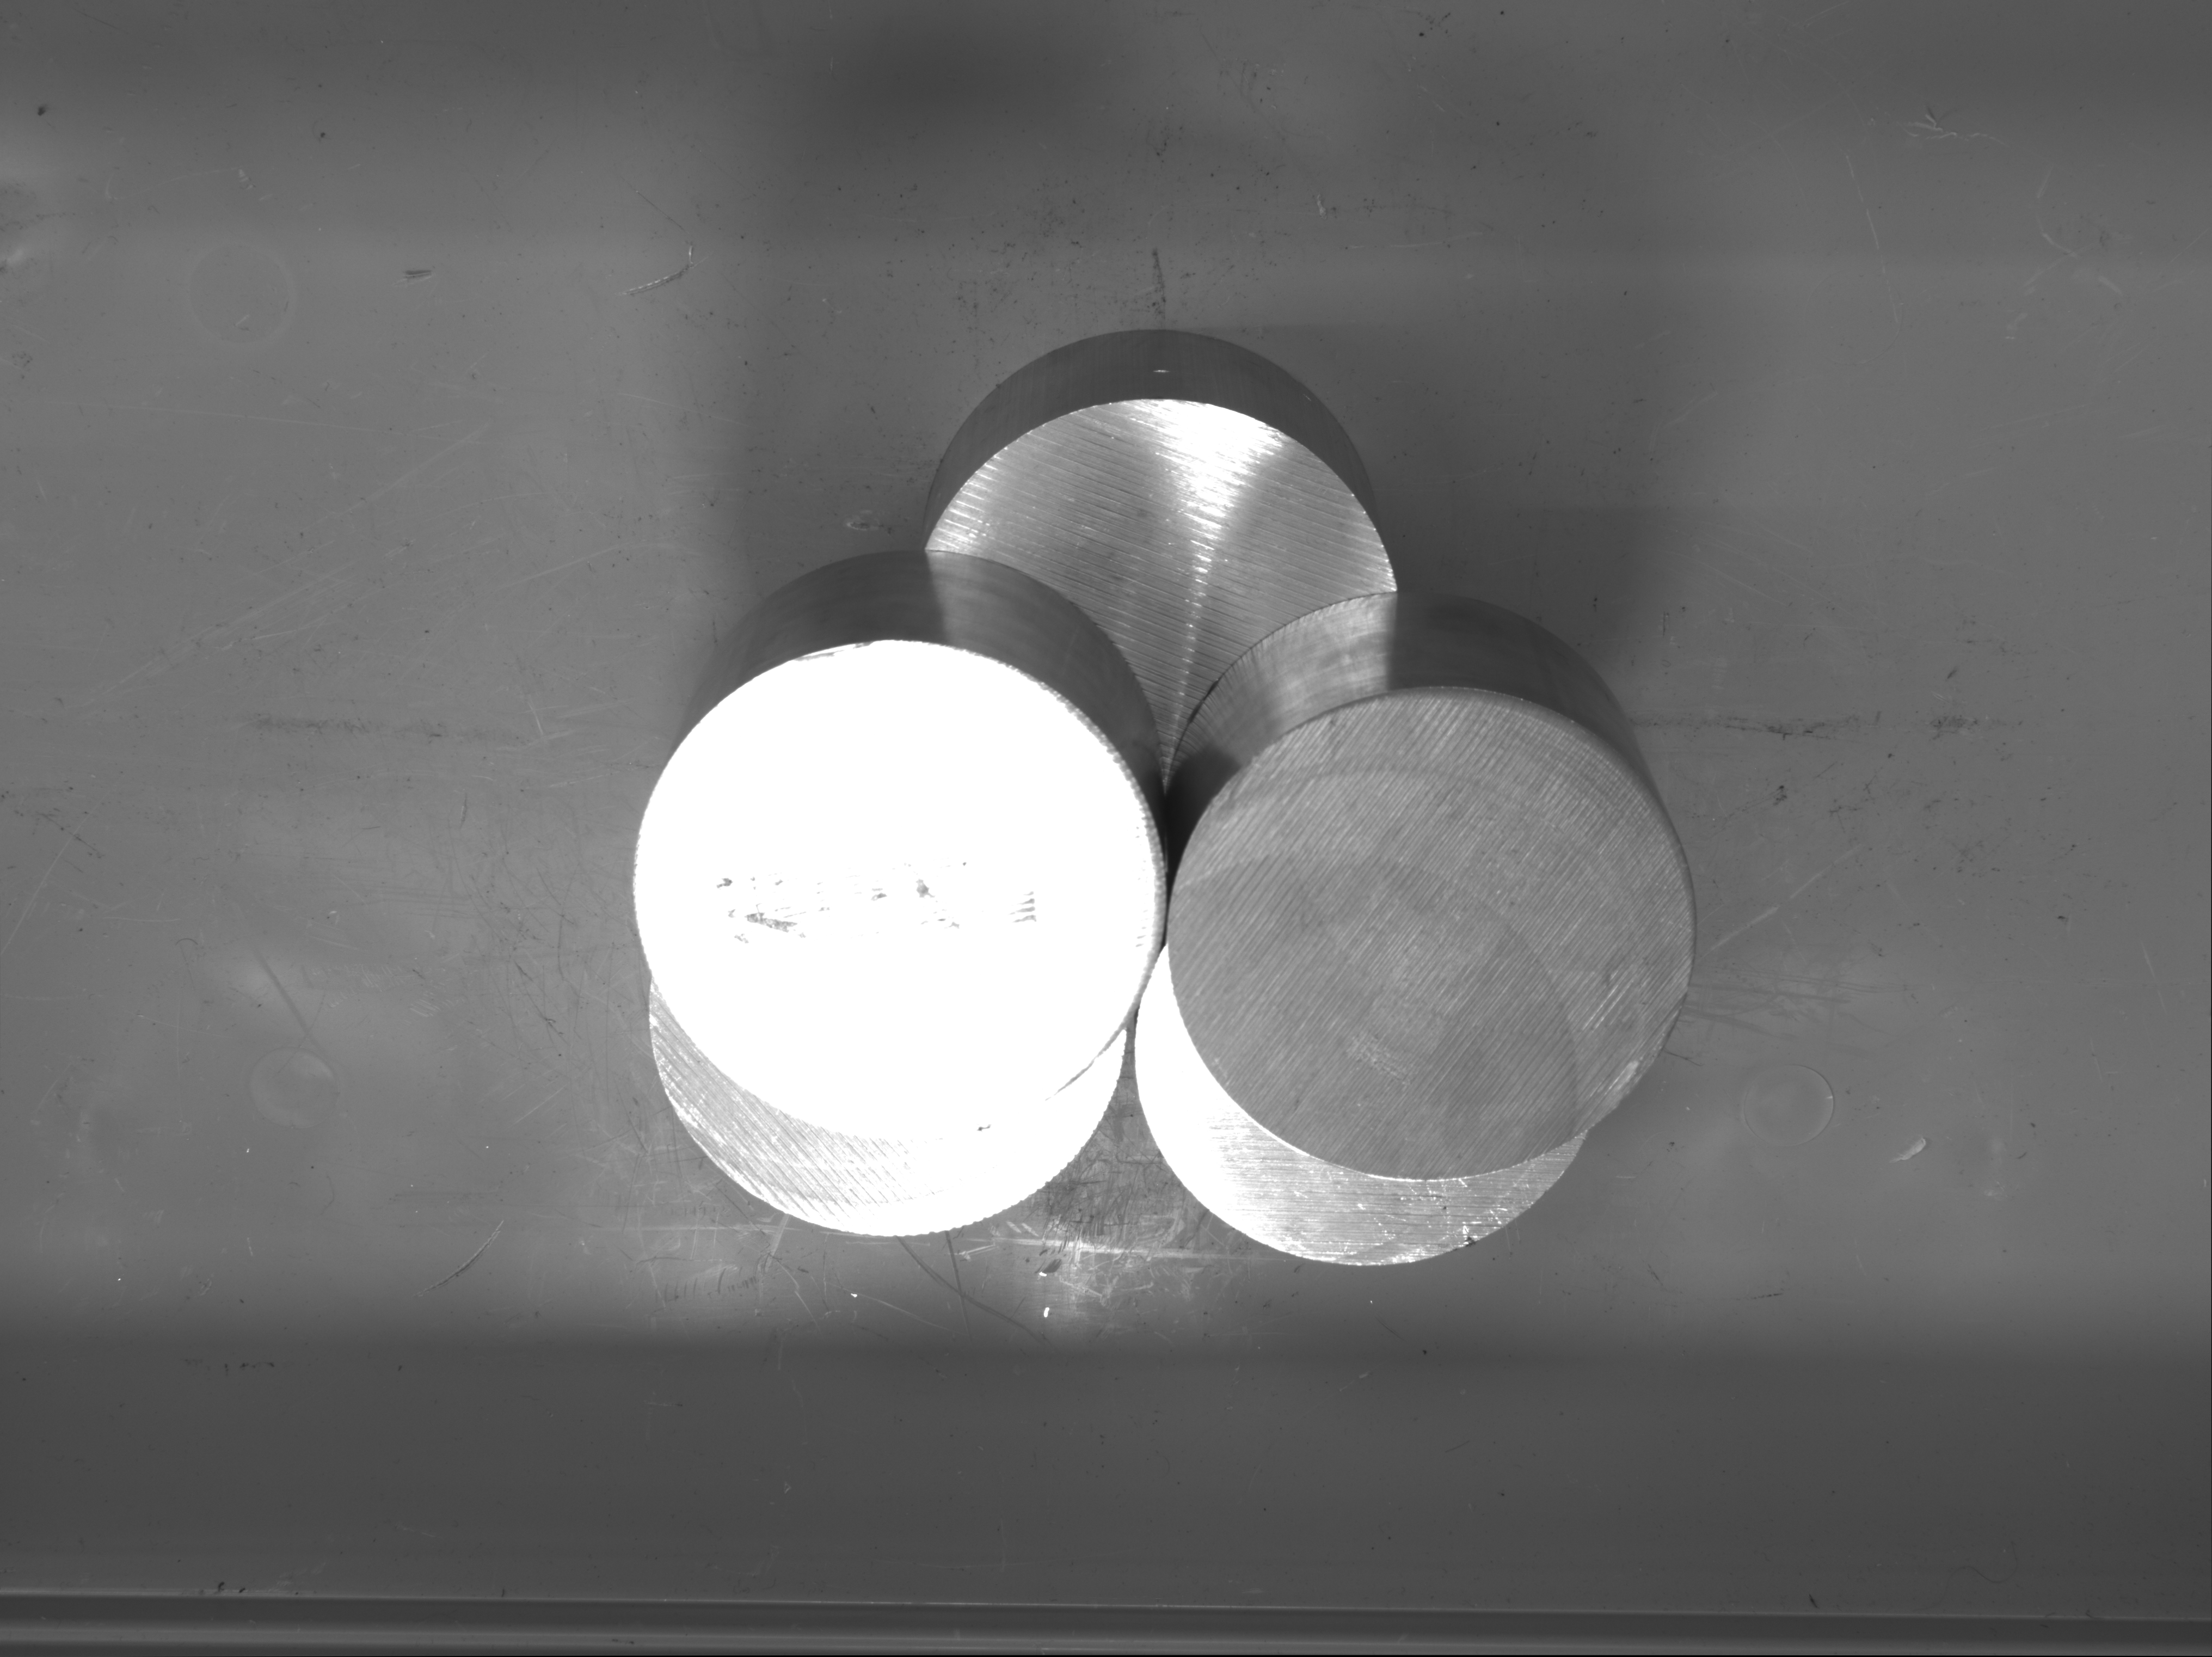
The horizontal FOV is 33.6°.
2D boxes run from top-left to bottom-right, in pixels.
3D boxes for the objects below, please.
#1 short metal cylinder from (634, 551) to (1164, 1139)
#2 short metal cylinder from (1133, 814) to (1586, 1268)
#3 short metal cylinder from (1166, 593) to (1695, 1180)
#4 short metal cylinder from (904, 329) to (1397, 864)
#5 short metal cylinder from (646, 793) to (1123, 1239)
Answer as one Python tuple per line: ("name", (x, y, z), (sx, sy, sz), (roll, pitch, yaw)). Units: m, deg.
("short metal cylinder", (-0.031, 0.002, 0.576), (0.080, 0.050, 0.080), (0, 110, 0))
("short metal cylinder", (0.045, 0.029, 0.639), (0.080, 0.050, 0.080), (0, 110, 0))
("short metal cylinder", (0.049, 0.008, 0.578), (0.080, 0.050, 0.080), (0, 110, 0))
("short metal cylinder", (0.008, -0.039, 0.615), (0.080, 0.050, 0.080), (0, 110, 0))
("short metal cylinder", (-0.037, 0.024, 0.637), (0.080, 0.050, 0.080), (0, 110, 0))
